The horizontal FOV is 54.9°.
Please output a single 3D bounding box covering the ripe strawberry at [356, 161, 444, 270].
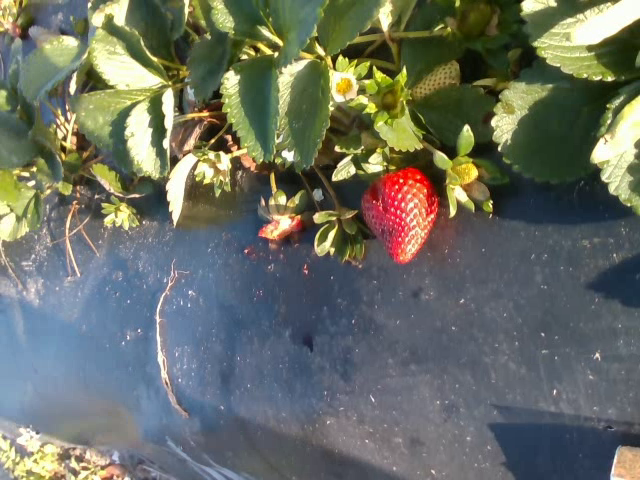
[{"bbox_3d":[0.043,-0.009,0.332,0.041,0.052,0.052,24,-36,-28],"label":"ripe strawberry"}]
